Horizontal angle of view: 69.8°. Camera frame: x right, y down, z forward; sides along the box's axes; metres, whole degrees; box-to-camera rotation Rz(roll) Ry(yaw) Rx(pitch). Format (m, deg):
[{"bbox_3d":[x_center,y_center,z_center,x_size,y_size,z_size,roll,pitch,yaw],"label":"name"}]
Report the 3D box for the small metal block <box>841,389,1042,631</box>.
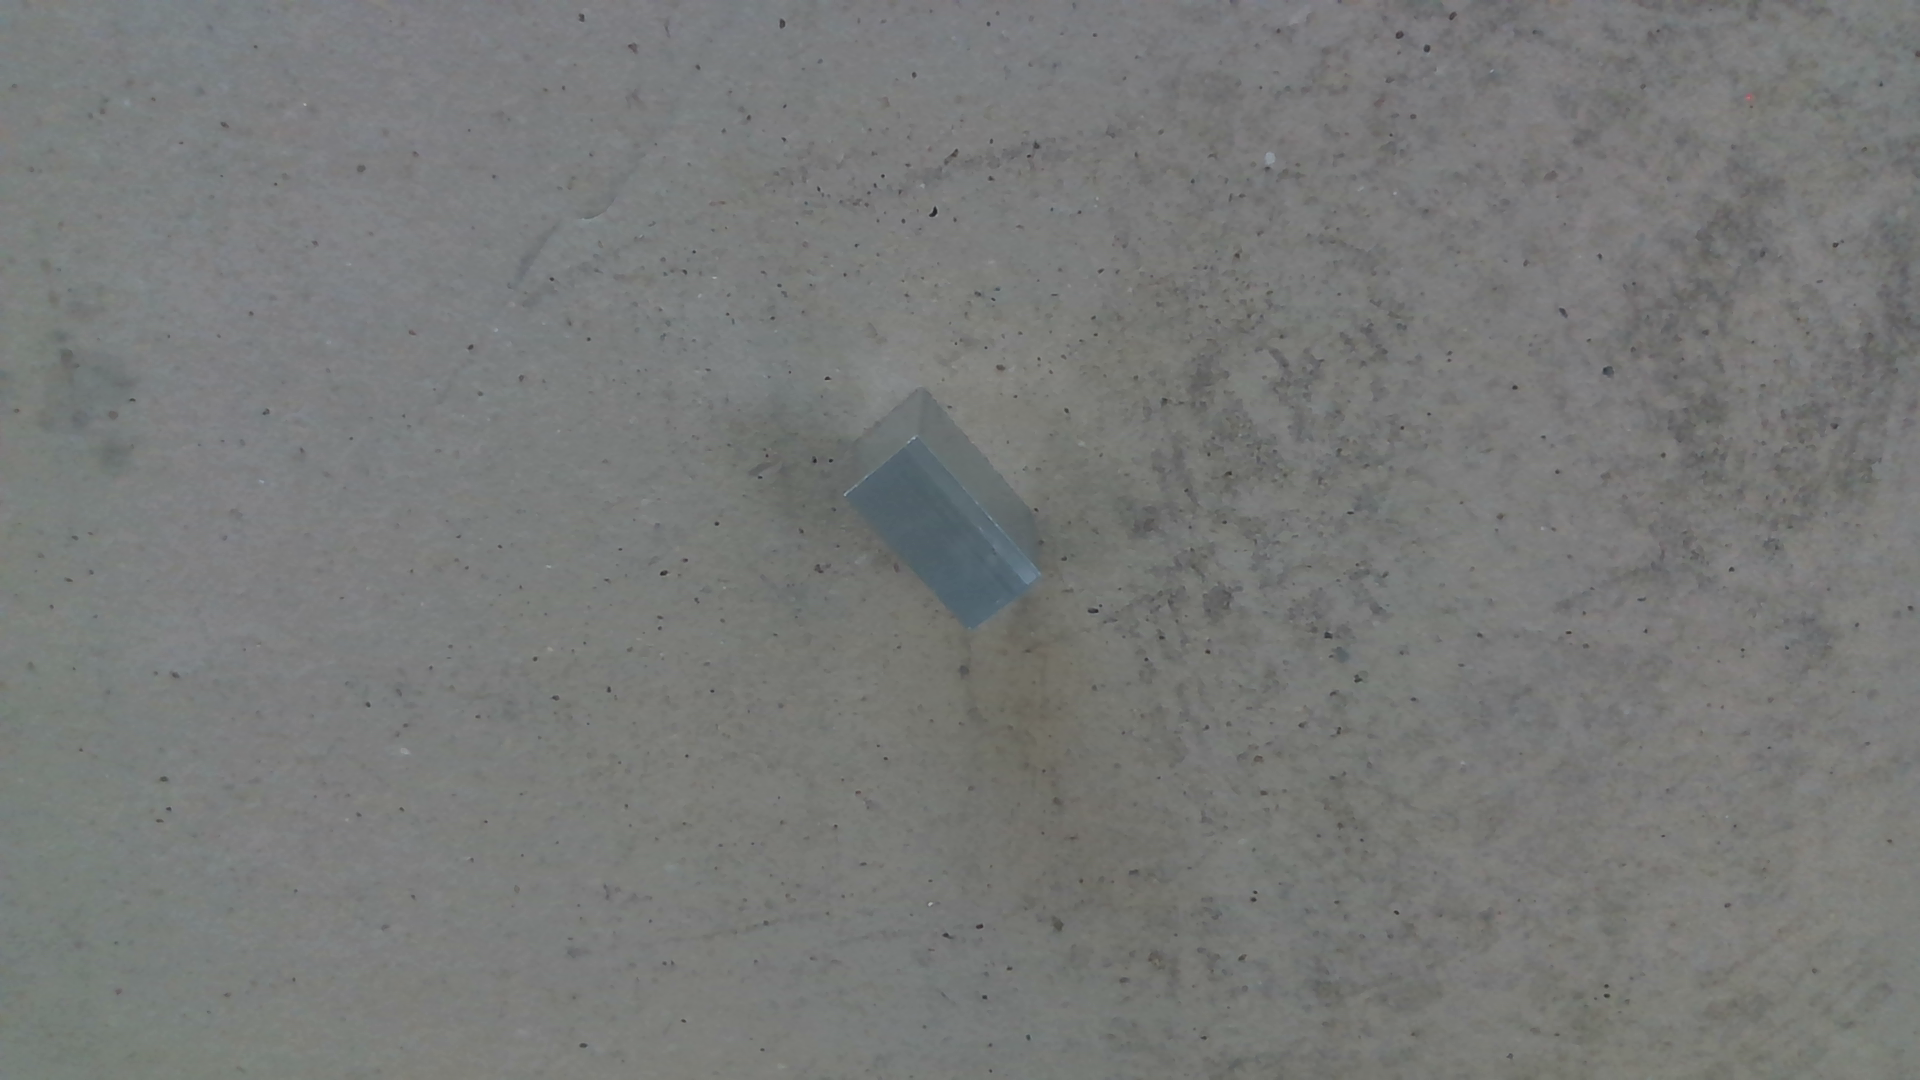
[{"bbox_3d":[-0.004,-0.010,0.376,0.025,0.050,0.050,-38,106,13],"label":"small metal block"}]
